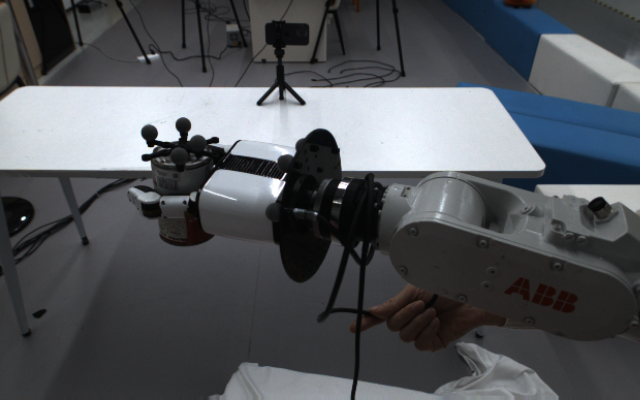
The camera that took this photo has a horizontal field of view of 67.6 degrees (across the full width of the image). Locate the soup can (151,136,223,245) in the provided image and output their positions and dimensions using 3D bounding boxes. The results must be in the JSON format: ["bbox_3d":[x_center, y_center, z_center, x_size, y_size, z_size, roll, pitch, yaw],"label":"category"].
[{"bbox_3d":[-0.151,-0.006,0.551,0.067,0.101,0.067,3,31,-2],"label":"soup can"}]
